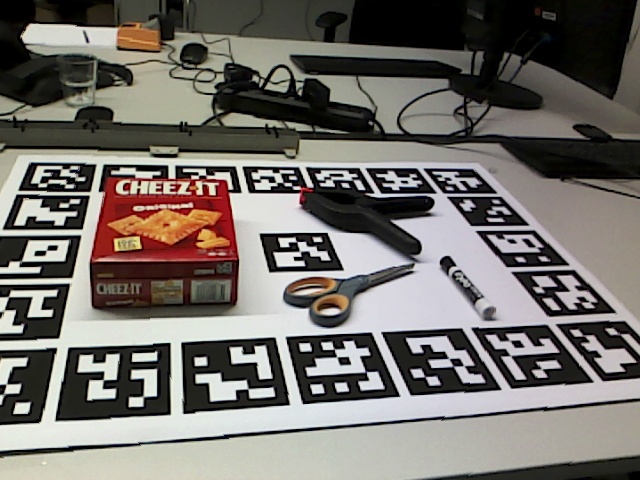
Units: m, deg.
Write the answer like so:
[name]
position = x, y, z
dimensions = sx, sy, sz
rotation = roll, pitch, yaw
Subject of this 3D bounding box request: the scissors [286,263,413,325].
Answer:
[scissors]
position = 0.049, 0.056, 0.793
dimensions = 0.201, 0.016, 0.088
rotation = -17, 36, -38

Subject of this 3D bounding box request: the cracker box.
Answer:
[cracker box]
position = -0.191, -0.004, 0.799
dimensions = 0.164, 0.072, 0.214
rotation = 0, 31, -12

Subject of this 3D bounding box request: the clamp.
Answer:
[clamp]
position = 0.060, -0.037, 0.964
dimensions = 0.203, 0.036, 0.165
rotation = 15, 30, 13

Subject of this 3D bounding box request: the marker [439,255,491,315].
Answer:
[marker]
position = 0.189, 0.056, 0.819
dimensions = 0.019, 0.019, 0.122
rotation = -3, 31, -16
